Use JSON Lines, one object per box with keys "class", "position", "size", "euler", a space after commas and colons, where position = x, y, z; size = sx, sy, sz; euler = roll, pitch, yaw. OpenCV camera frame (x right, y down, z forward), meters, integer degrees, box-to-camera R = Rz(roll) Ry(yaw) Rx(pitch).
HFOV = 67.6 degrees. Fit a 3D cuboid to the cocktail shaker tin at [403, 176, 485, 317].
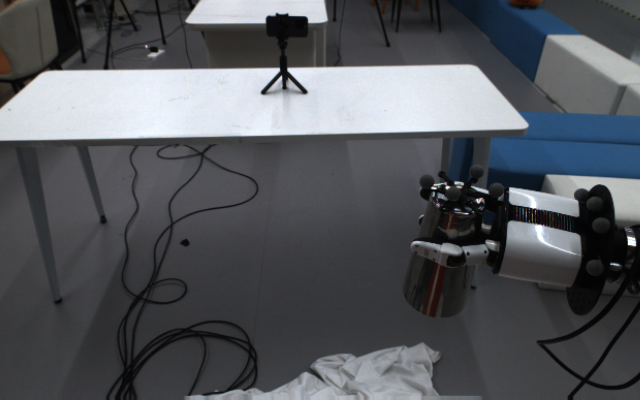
{"class": "cocktail shaker tin", "position": [0.170, 0.060, 0.640], "size": [0.093, 0.170, 0.093], "euler": [1, 39, -1]}
